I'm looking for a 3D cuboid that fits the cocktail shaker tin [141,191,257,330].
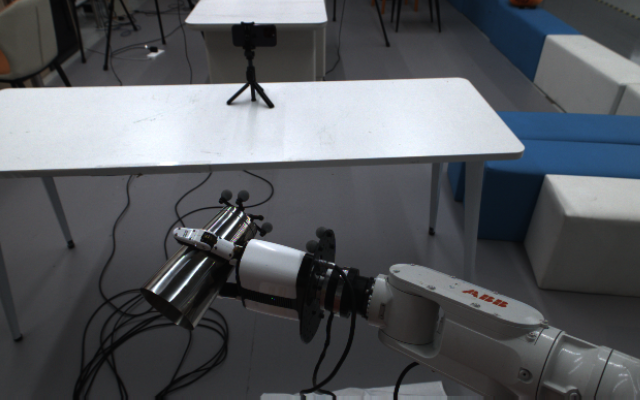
[{"bbox_3d":[-0.164,0.086,0.696,0.093,0.093,0.170,19,54,23],"label":"cocktail shaker tin"}]
